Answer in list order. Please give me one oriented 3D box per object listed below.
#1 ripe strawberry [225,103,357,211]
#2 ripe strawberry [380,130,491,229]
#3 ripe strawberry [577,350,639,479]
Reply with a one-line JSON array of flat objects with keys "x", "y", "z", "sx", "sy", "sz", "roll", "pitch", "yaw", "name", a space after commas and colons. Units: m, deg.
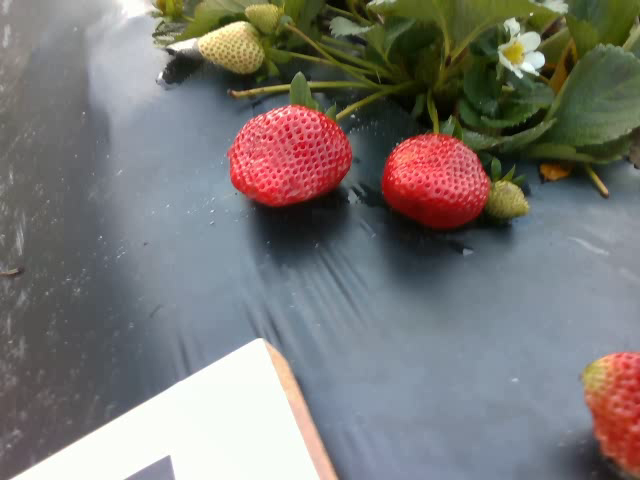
[{"x": -0.018, "y": -0.034, "z": 0.270, "sx": 0.058, "sy": 0.044, "sz": 0.065, "roll": -11, "pitch": 35, "yaw": 30, "name": "ripe strawberry"}, {"x": 0.047, "y": -0.027, "z": 0.261, "sx": 0.050, "sy": 0.051, "sz": 0.059, "roll": -16, "pitch": 1, "yaw": 26, "name": "ripe strawberry"}, {"x": 0.093, "y": 0.051, "z": 0.176, "sx": 0.053, "sy": 0.047, "sz": 0.039, "roll": 39, "pitch": -4, "yaw": 11, "name": "ripe strawberry"}]
